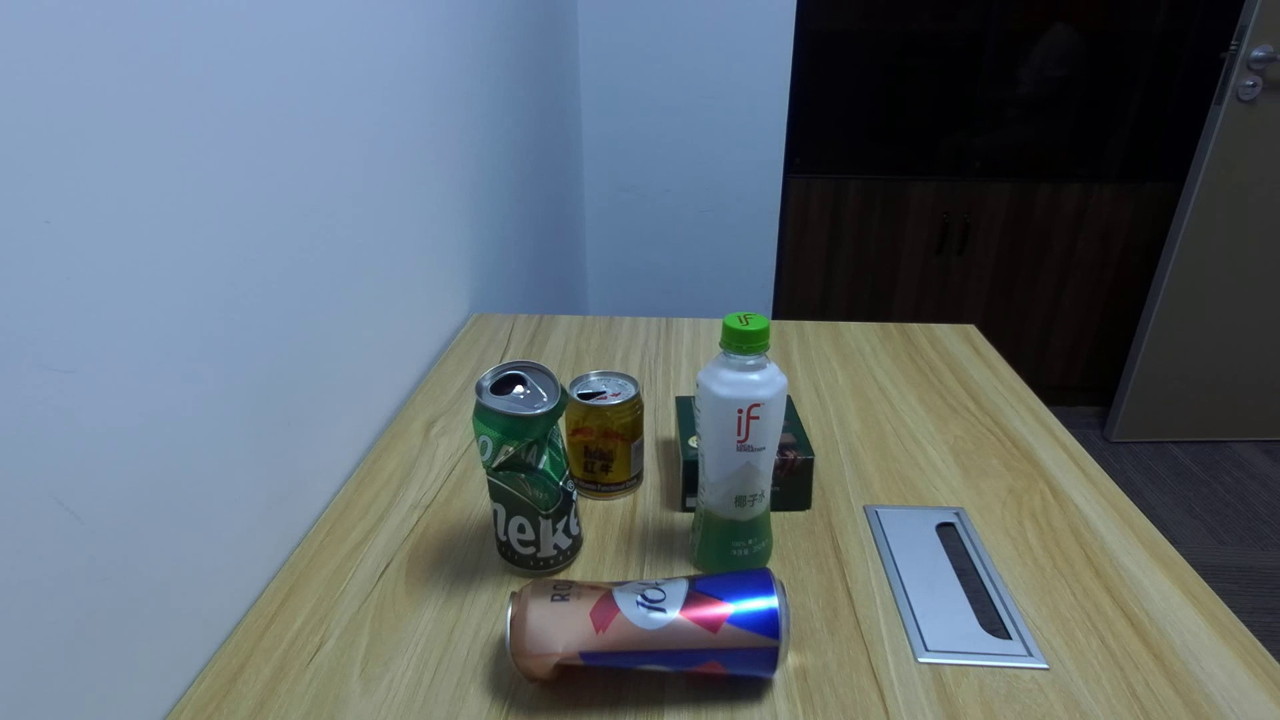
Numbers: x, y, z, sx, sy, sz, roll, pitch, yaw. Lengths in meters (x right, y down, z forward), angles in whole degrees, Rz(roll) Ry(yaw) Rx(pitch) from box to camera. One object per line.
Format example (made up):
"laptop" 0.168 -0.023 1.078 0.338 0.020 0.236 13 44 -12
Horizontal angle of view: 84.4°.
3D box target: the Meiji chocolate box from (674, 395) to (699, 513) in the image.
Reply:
"Meiji chocolate box" 0.088 0.079 0.617 0.109 0.056 0.110 -2 26 0

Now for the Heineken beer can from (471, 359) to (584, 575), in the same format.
"Heineken beer can" -0.079 0.079 0.504 0.067 0.159 0.078 -13 33 -18

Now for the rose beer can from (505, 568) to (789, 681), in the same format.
"rose beer can" 0.005 0.160 0.429 0.168 0.069 0.070 -2 44 1

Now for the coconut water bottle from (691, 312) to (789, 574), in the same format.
"coconut water bottle" 0.069 0.060 0.491 0.063 0.189 0.063 0 25 0

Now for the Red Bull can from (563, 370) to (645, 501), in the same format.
"Red Bull can" -0.029 0.062 0.599 0.069 0.092 0.069 0 27 0
